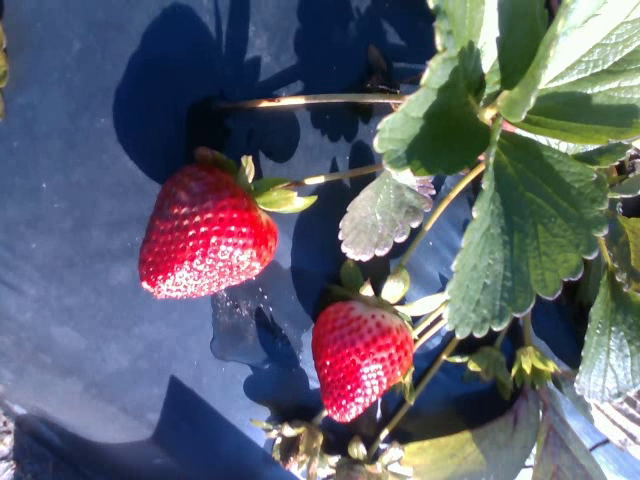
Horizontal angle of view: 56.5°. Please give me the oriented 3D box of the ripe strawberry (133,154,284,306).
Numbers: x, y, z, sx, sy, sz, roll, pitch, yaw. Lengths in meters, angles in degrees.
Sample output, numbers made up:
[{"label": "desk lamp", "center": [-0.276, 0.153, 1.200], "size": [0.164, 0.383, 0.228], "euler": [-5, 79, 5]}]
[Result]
[{"label": "ripe strawberry", "center": [-0.042, 0.000, 0.190], "size": [0.050, 0.051, 0.044], "euler": [-46, 31, -21]}]

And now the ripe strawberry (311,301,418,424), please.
[{"label": "ripe strawberry", "center": [0.013, 0.045, 0.210], "size": [0.042, 0.049, 0.039], "euler": [16, -16, 19]}]
